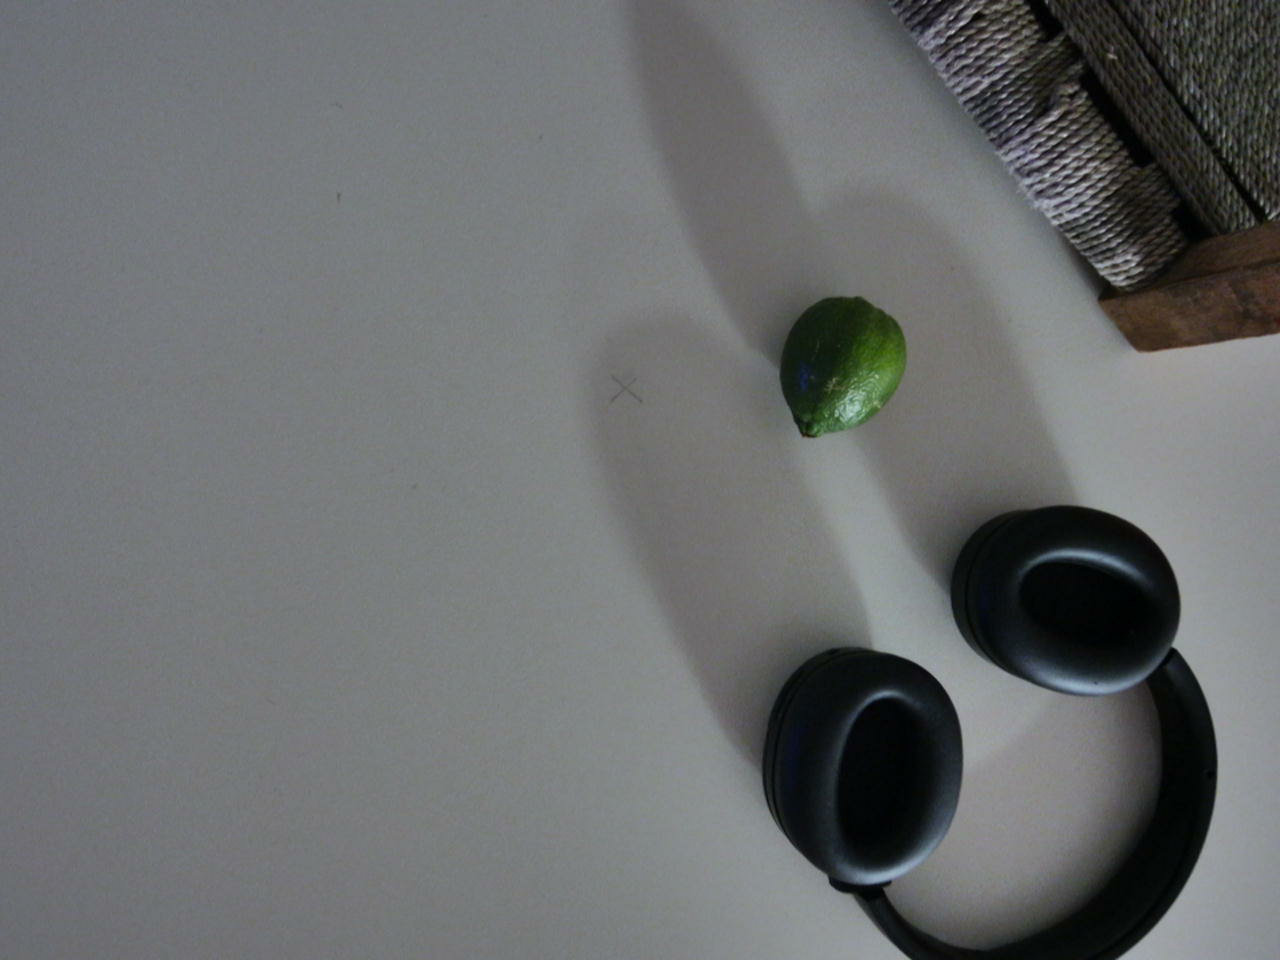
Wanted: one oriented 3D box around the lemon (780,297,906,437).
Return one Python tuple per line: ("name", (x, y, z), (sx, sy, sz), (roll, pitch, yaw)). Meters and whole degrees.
("lemon", (0.088, -0.051, 0.432), (0.054, 0.051, 0.057), (-14, 94, -11))
